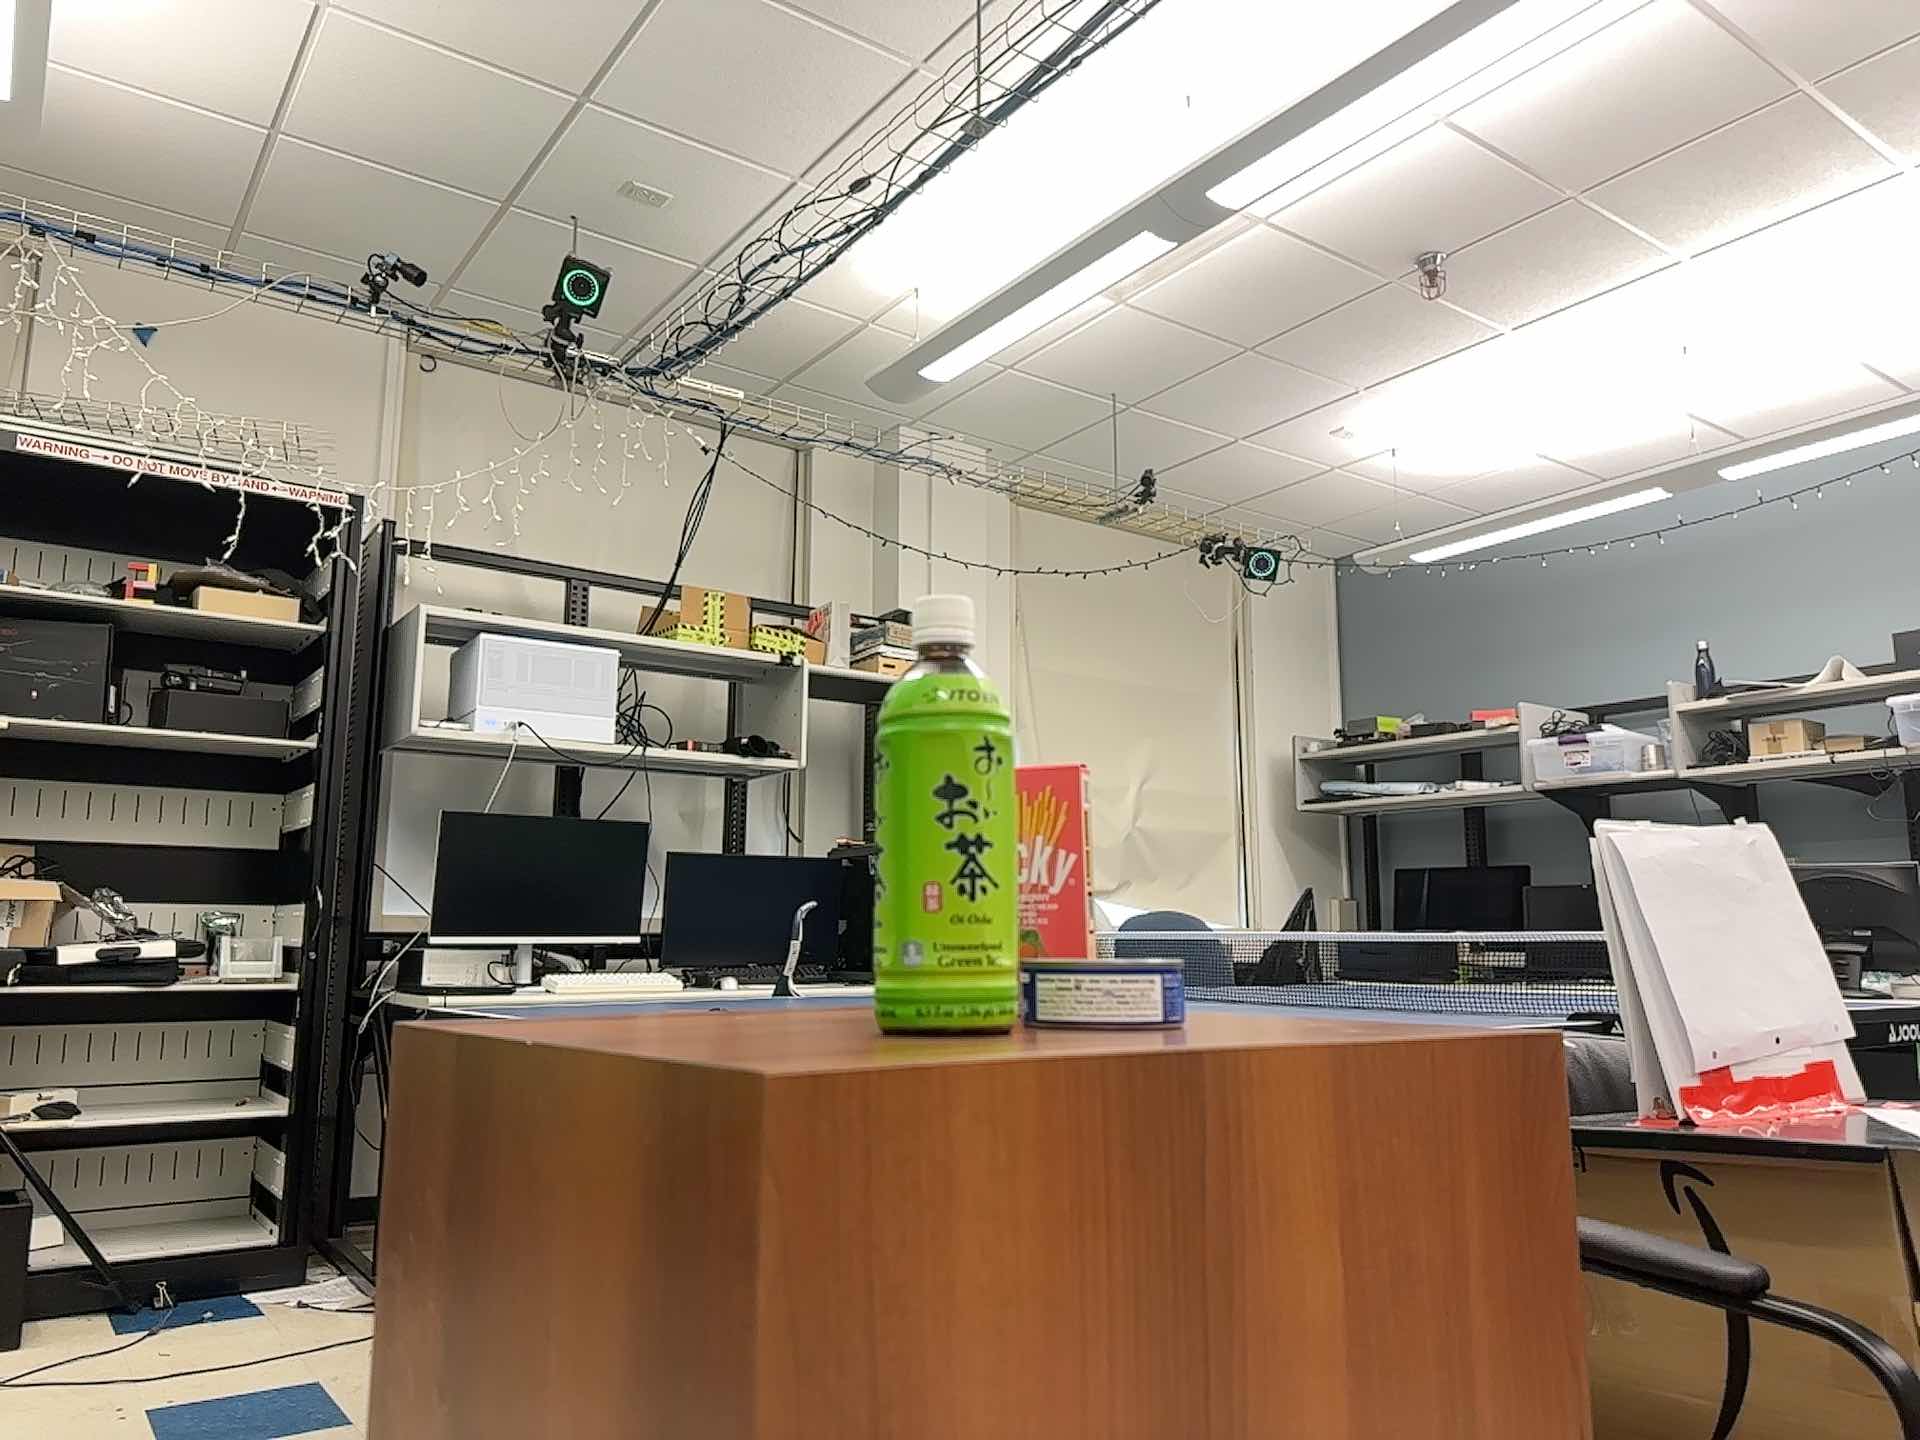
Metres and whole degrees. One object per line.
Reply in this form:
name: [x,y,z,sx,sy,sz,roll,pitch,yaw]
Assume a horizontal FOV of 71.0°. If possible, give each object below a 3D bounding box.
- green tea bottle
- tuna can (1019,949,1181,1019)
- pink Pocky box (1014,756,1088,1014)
green tea bottle: [-0.008,0.043,0.656,0.073,0.212,0.073,-2,-10,0]
tuna can: [0.074,0.139,0.708,0.083,0.034,0.083,-1,-11,0]
pink Pocky box: [0.034,0.101,0.829,0.084,0.155,0.029,-3,-8,19]
